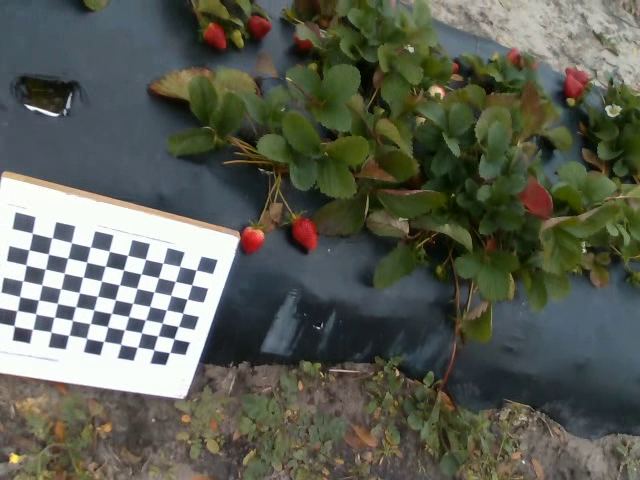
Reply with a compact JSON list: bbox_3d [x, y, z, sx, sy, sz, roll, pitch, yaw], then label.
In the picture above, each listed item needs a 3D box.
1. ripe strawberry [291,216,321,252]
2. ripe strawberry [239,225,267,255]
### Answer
[{"bbox_3d":[-0.018,-0.010,0.935,0.044,0.059,0.042,-25,6,7],"label":"ripe strawberry"},{"bbox_3d":[-0.091,0.001,0.904,0.036,0.041,0.027,17,0,-13],"label":"ripe strawberry"}]
